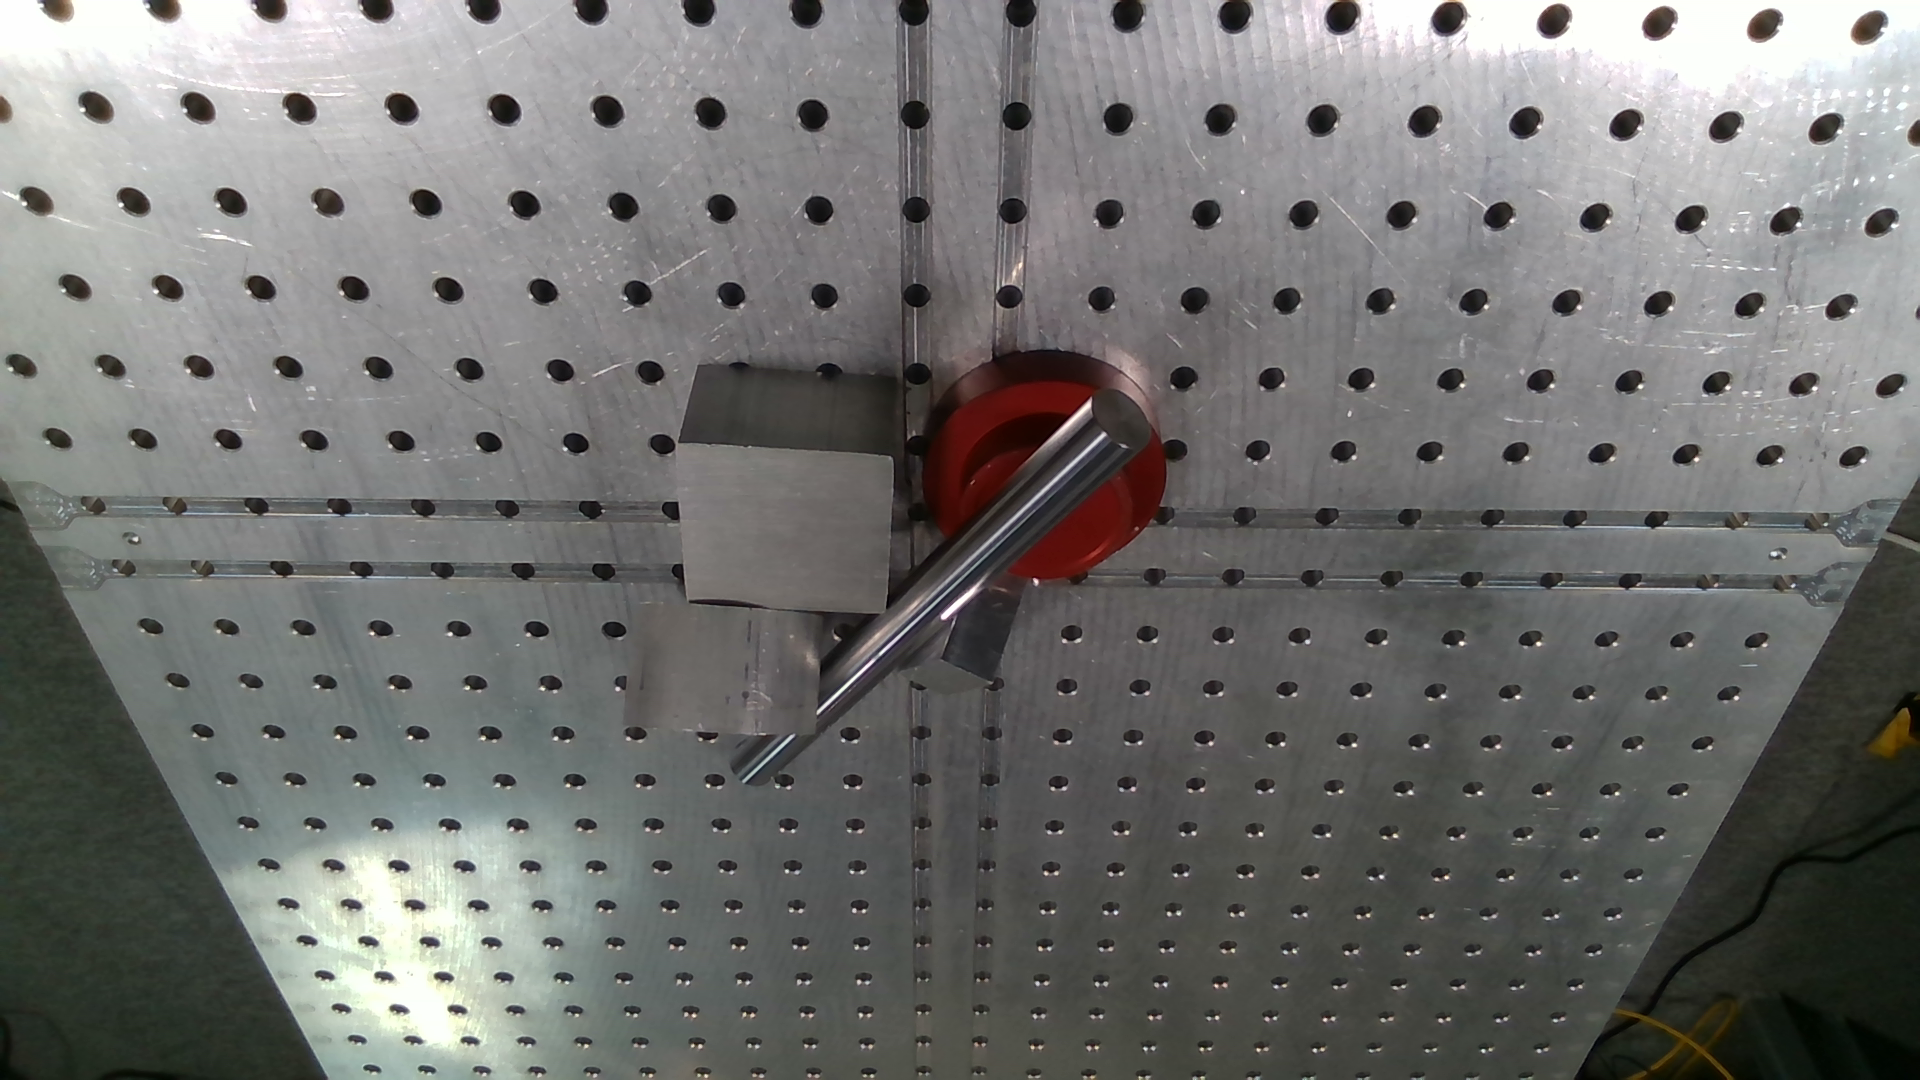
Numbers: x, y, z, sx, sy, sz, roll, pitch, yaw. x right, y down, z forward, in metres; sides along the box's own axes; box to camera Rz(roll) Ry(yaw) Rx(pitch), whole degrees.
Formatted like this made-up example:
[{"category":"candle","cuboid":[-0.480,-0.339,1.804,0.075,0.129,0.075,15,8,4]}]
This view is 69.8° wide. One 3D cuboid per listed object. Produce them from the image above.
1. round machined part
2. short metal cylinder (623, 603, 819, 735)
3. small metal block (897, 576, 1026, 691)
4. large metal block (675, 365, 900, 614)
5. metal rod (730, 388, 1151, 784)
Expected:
[{"category":"round machined part","cuboid":[0.034,-0.024,0.551,0.098,0.042,0.098,0,130,0]},{"category":"short metal cylinder","cuboid":[-0.100,0.055,0.584,0.080,0.050,0.080,3,175,0]},{"category":"small metal block","cuboid":[0.001,0.035,0.583,0.025,0.050,0.050,26,160,-17]},{"category":"large metal block","cuboid":[-0.067,-0.019,0.547,0.080,0.050,0.080,4,130,-3]},{"category":"metal rod","cuboid":[-0.024,0.033,0.568,0.025,0.025,0.301,26,138,-20]}]
